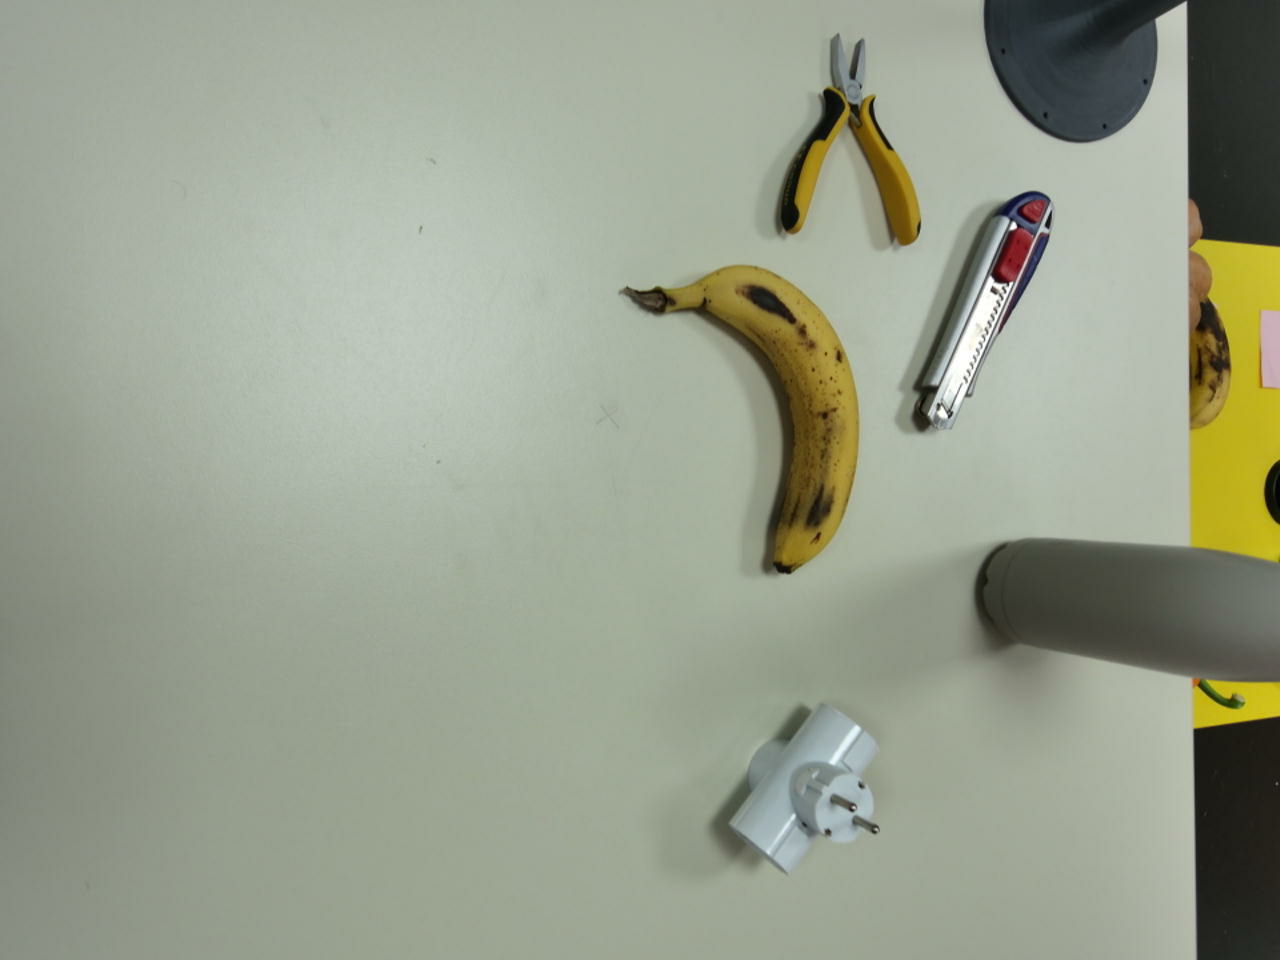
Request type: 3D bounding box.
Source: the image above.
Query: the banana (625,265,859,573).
[{"bbox_3d":[0.081,-0.047,0.589,0.097,0.038,0.186,-30,101,-19],"label":"banana"}]
